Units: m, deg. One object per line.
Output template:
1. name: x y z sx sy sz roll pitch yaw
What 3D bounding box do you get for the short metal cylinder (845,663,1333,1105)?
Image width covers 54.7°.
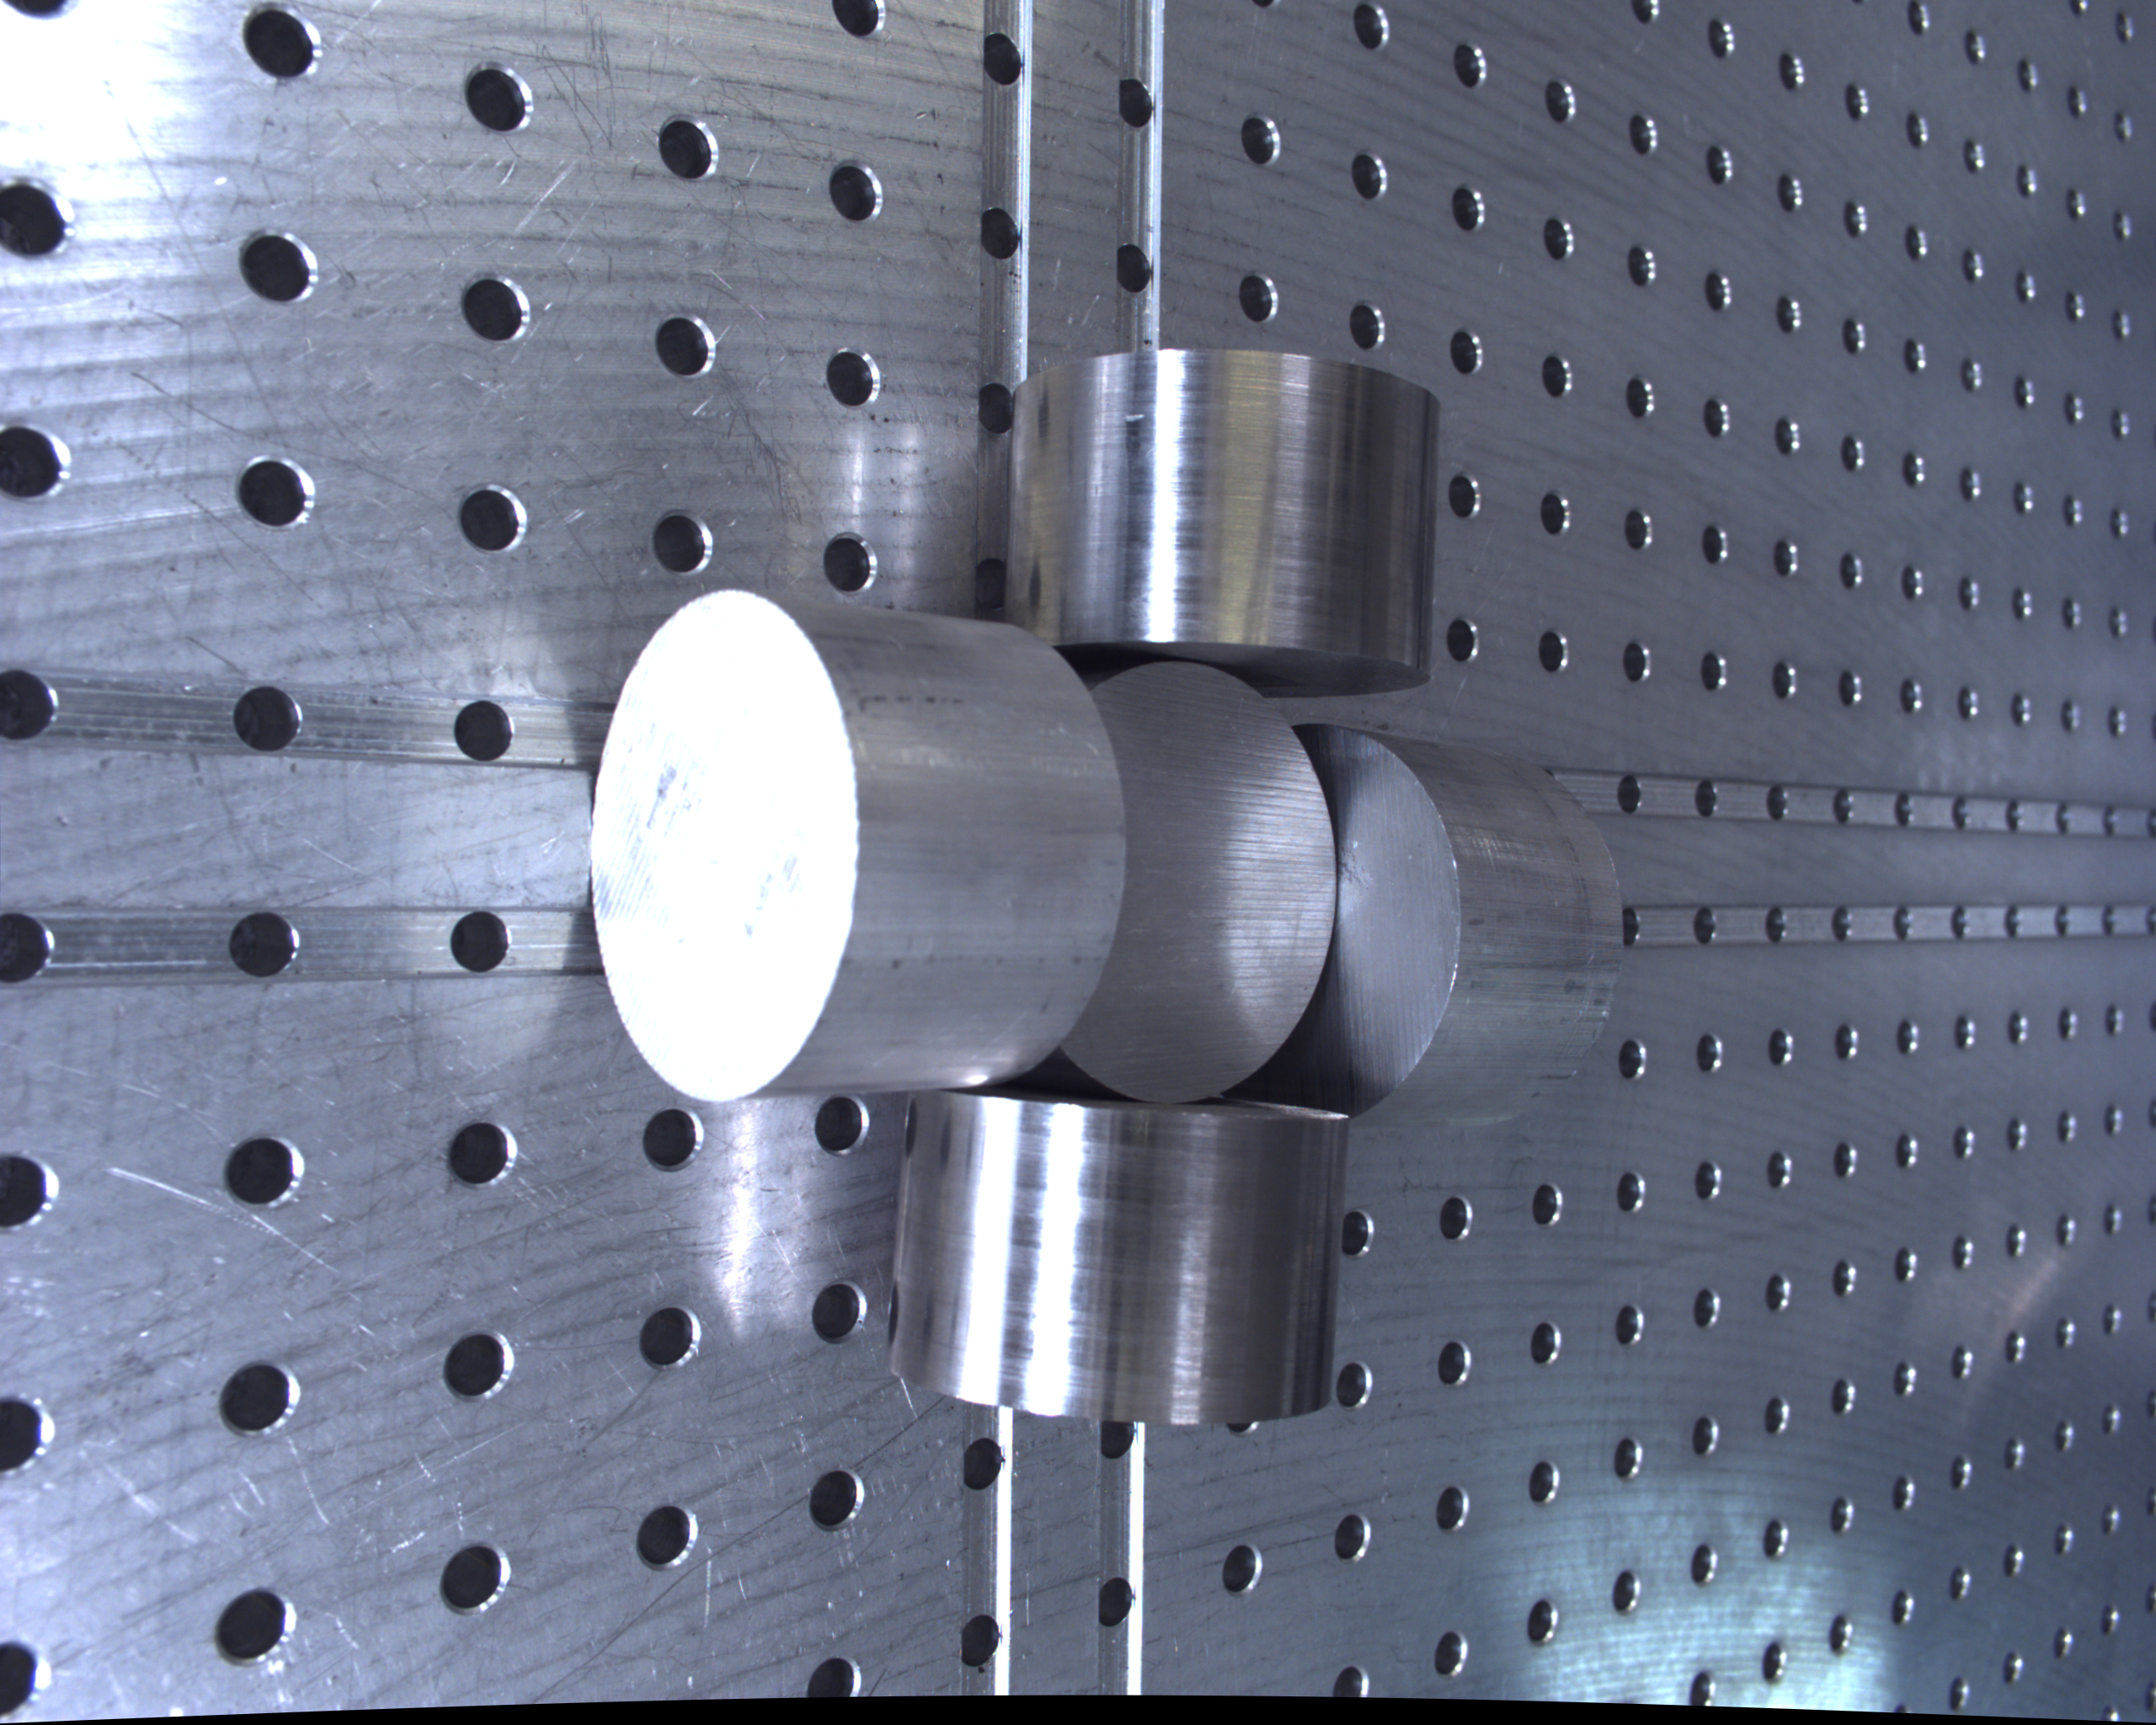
1. short metal cylinder: 0.002 0.004 0.395 0.081 0.050 0.080 0 90 -41

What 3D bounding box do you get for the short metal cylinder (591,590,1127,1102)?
1. short metal cylinder: -0.038 -0.002 0.341 0.050 0.080 0.080 2 89 -41

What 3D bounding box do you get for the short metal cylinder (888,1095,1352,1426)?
1. short metal cylinder: 0.008 0.068 0.378 0.081 0.080 0.050 8 85 -40

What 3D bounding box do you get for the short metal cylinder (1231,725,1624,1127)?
1. short metal cylinder: 0.063 0.014 0.426 0.050 0.080 0.080 5 87 -40

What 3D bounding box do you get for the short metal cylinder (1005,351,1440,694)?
1. short metal cylinder: 0.027 -0.061 0.395 0.081 0.080 0.050 4 88 -40
